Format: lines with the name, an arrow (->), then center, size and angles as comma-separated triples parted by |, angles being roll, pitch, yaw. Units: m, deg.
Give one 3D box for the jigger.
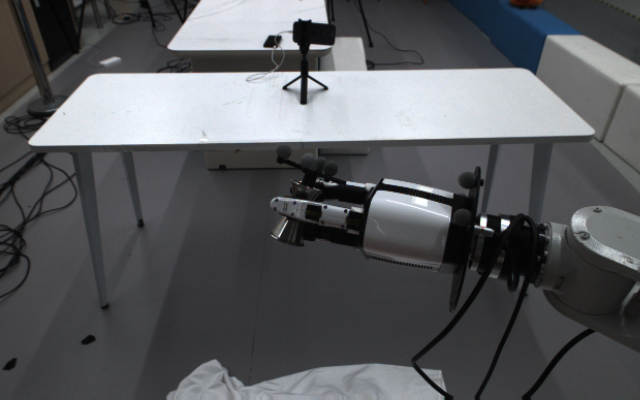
jigger -> -0.028, 0.014, 0.557 | 0.043, 0.071, 0.043 | 22, 6, -2
